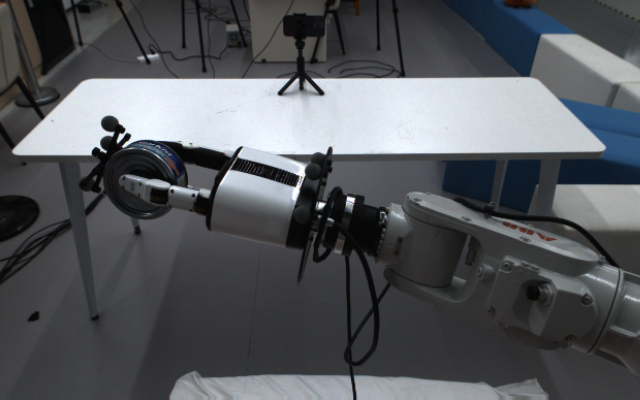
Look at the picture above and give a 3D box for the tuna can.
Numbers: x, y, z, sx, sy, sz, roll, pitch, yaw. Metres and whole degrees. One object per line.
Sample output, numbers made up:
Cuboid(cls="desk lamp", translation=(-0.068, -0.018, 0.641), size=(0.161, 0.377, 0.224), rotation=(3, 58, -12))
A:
Cuboid(cls="tuna can", translation=(-0.191, -0.018, 0.539), size=(0.085, 0.085, 0.034), rotation=(4, 22, 2))
